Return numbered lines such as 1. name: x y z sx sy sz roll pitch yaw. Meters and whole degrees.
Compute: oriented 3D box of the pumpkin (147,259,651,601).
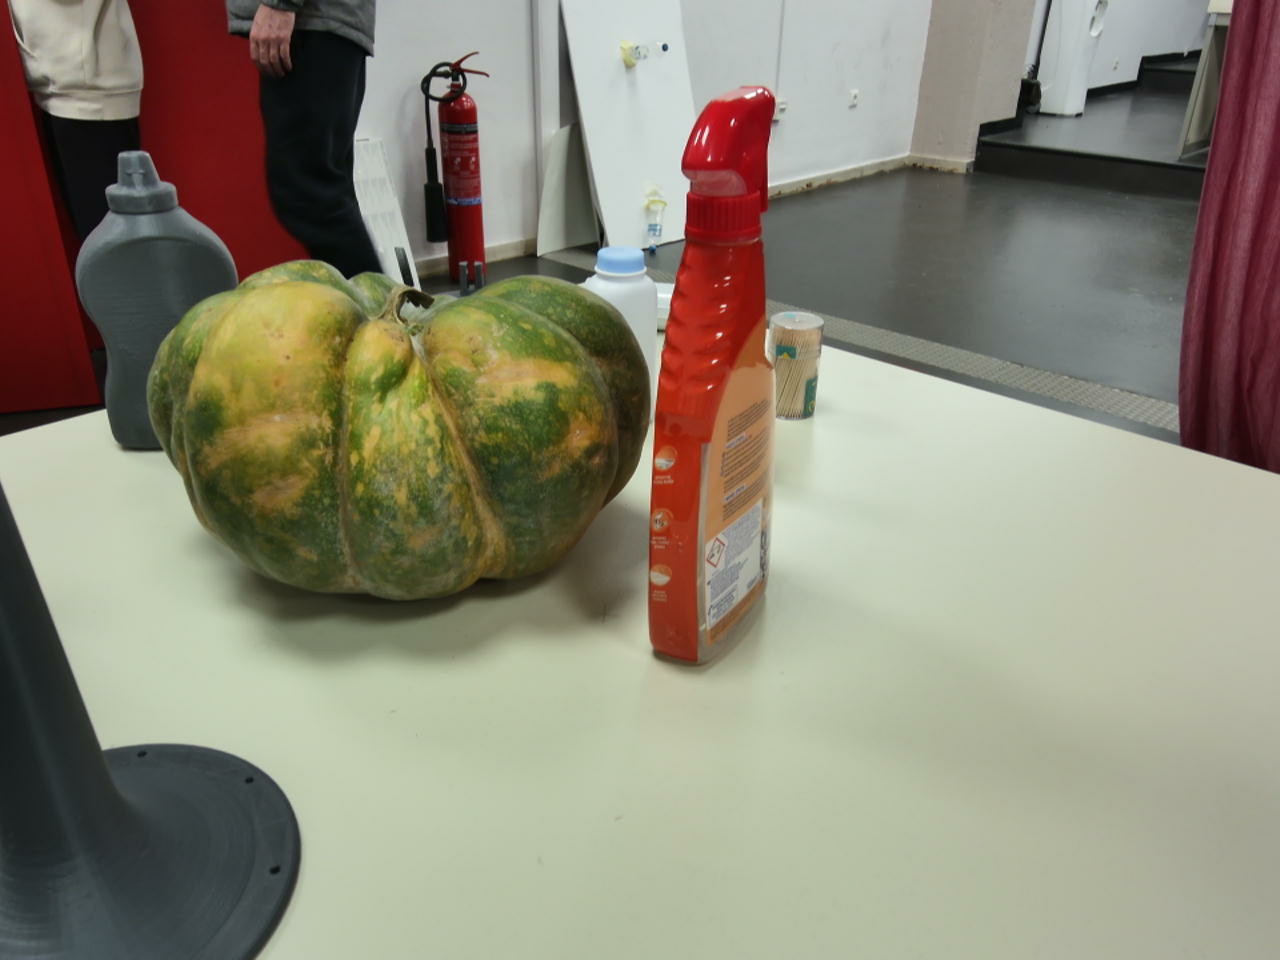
1. pumpkin: -0.131 -0.038 0.546 0.270 0.173 0.237 -4 26 -10
